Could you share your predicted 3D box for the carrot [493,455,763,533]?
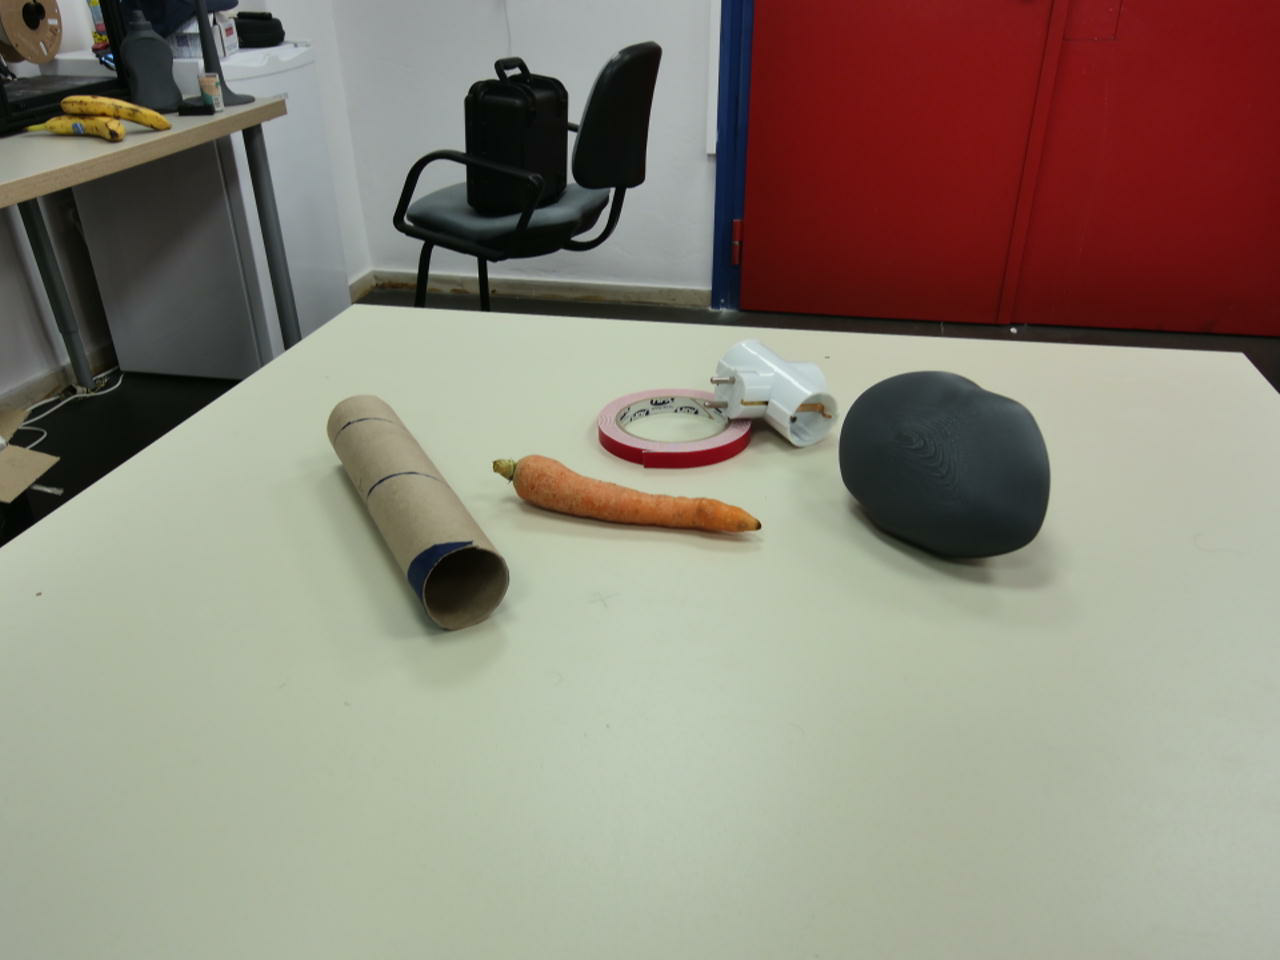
[{"bbox_3d":[-0.011,0.010,0.606,0.173,0.032,0.030,9,28,19],"label":"carrot"}]
